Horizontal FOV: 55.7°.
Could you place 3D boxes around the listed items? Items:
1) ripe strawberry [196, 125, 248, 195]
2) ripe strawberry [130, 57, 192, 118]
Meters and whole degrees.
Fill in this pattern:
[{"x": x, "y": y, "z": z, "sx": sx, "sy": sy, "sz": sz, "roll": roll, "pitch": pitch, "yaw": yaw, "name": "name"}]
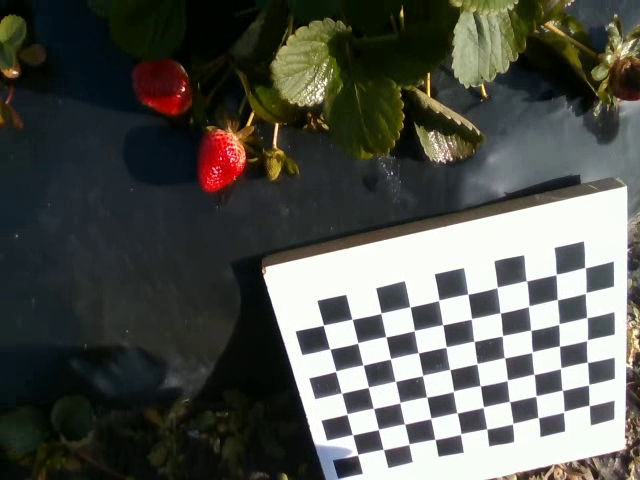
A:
[{"x": -0.079, "y": -0.059, "z": 0.467, "sx": 0.043, "sy": 0.053, "sz": 0.038, "roll": 30, "pitch": -23, "yaw": -14, "name": "ripe strawberry"}, {"x": -0.119, "y": -0.116, "z": 0.479, "sx": 0.054, "sy": 0.048, "sz": 0.039, "roll": -6, "pitch": 23, "yaw": -27, "name": "ripe strawberry"}]
